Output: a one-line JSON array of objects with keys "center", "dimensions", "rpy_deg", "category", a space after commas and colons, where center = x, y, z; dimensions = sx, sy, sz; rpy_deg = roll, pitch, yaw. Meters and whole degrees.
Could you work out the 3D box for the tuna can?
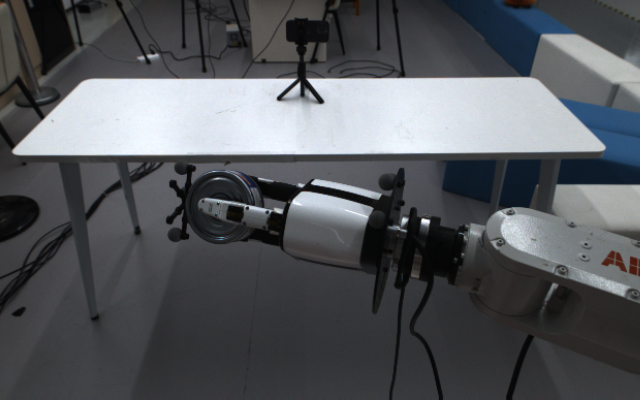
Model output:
[{"center": [-0.107, 0.007, 0.560], "dimensions": [0.085, 0.085, 0.034], "rpy_deg": [10, 2, 11], "category": "tuna can"}]
